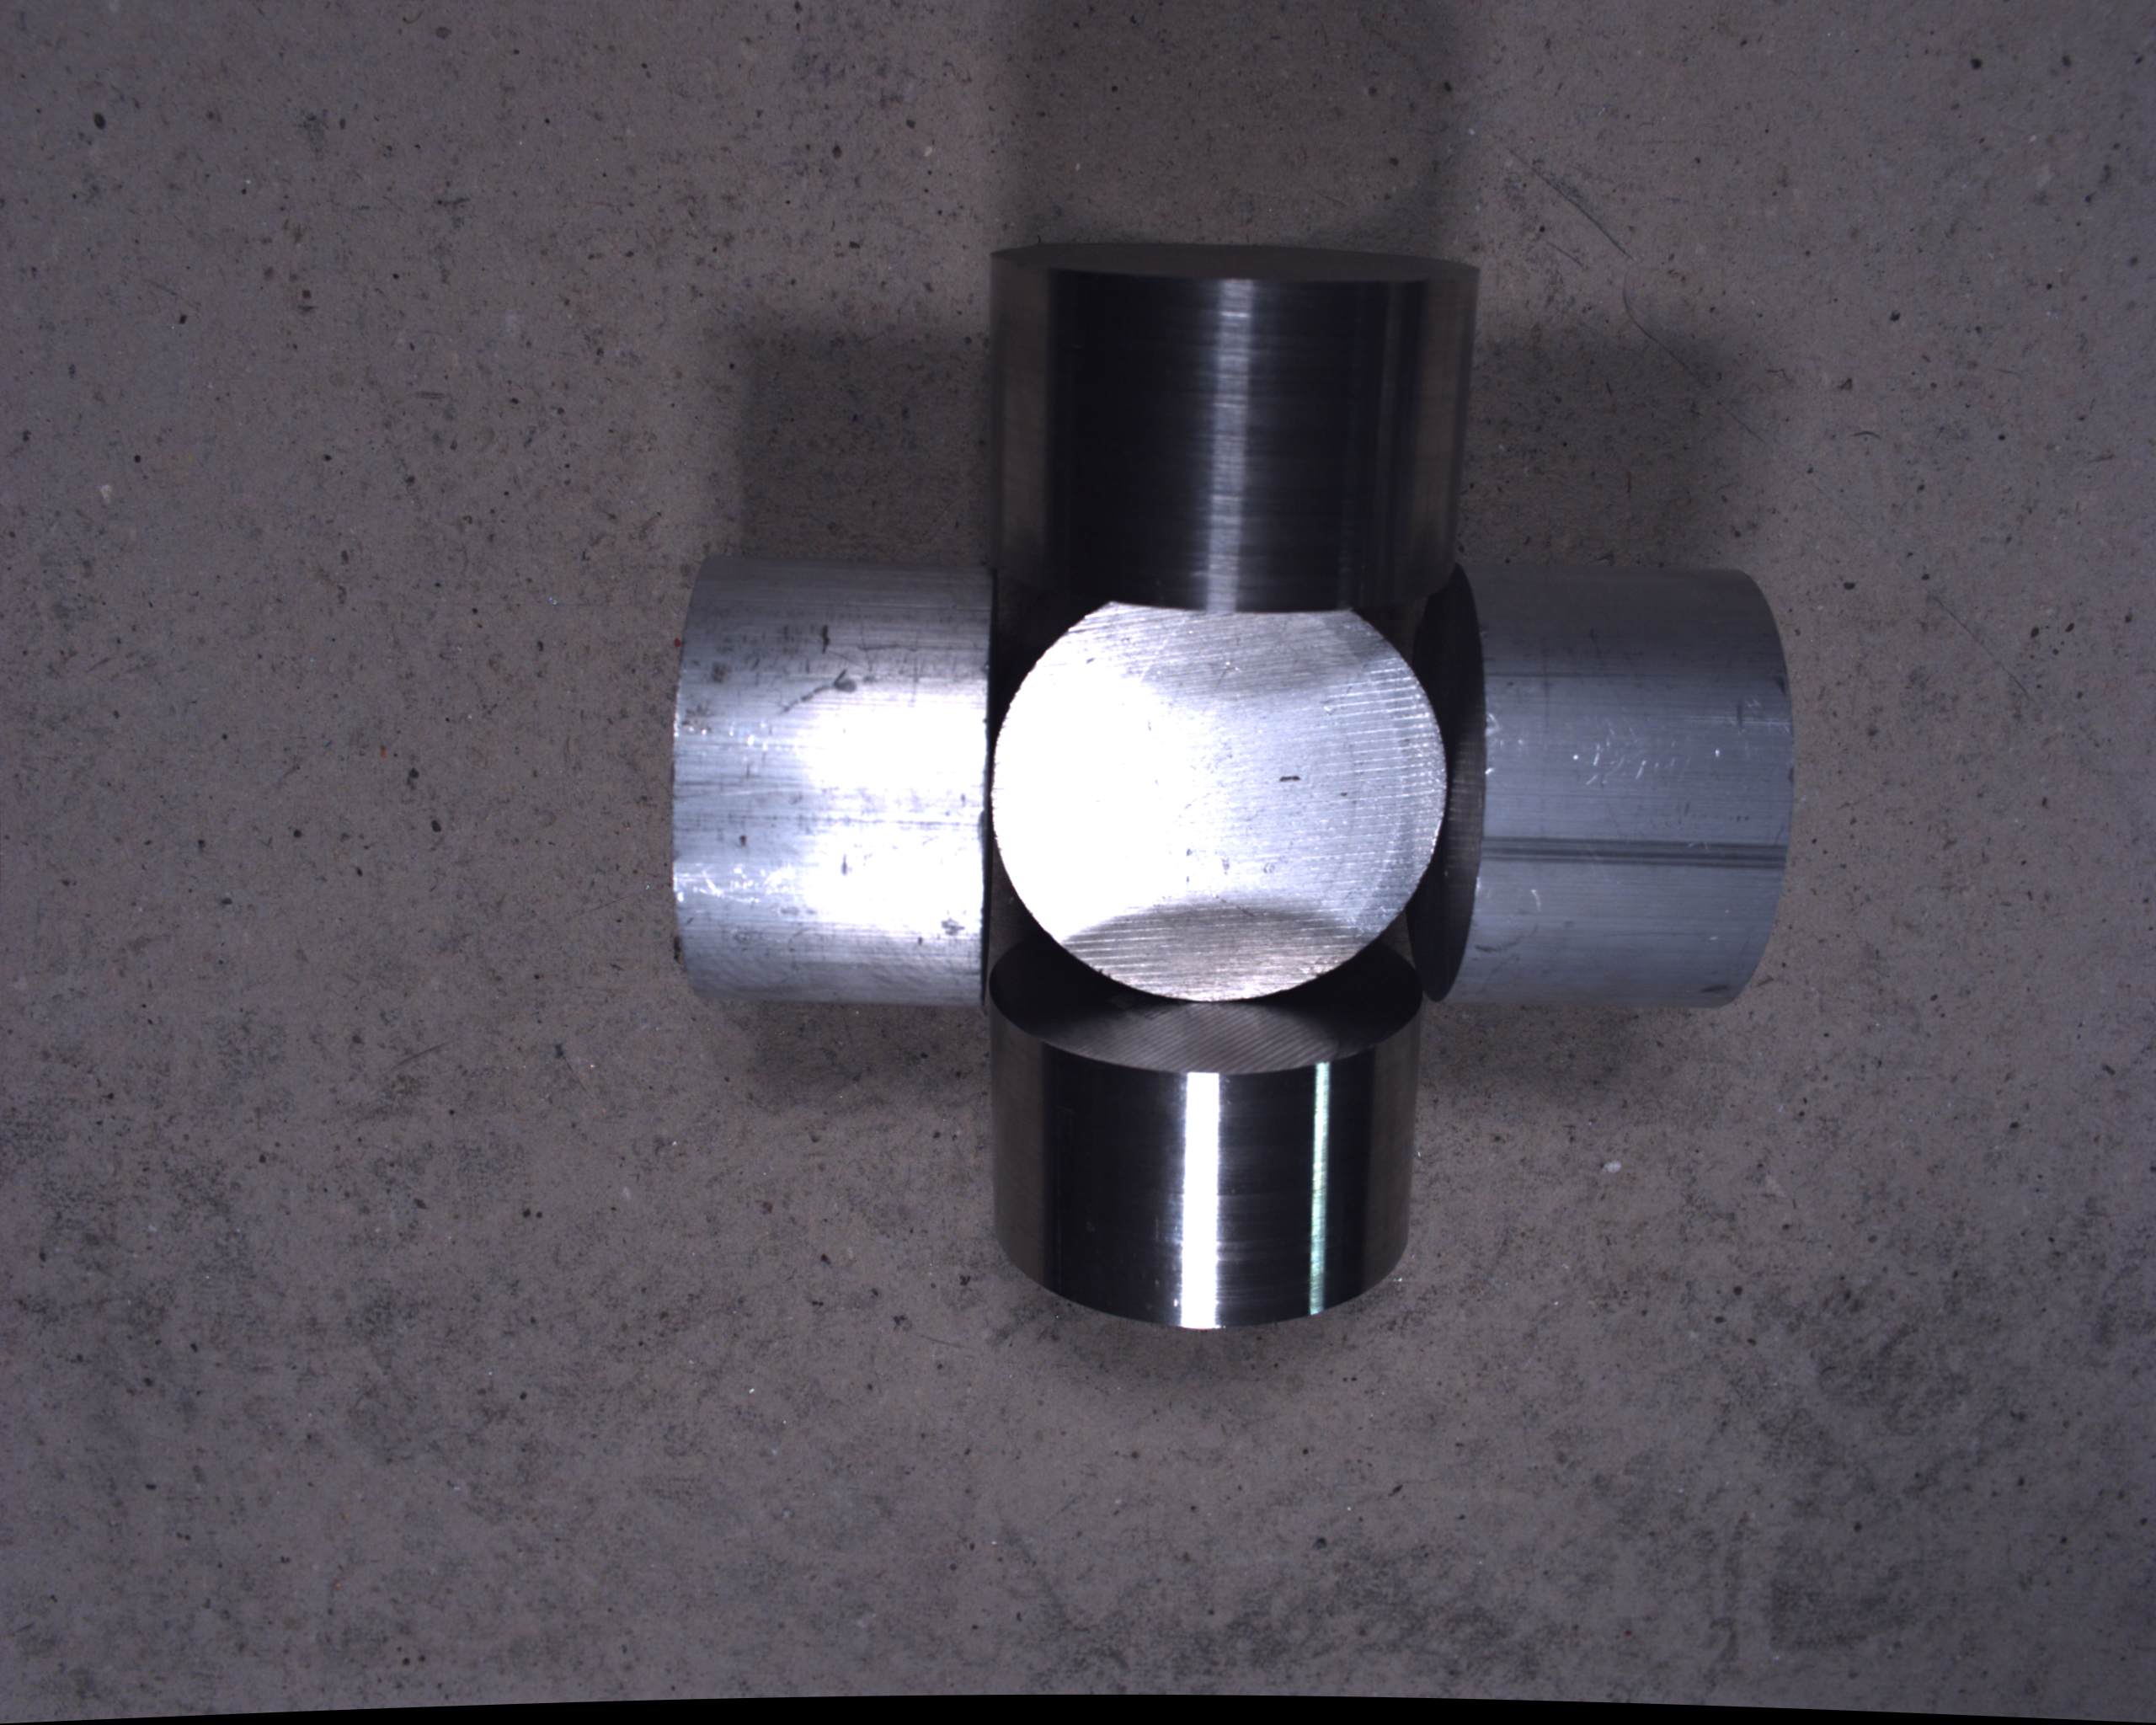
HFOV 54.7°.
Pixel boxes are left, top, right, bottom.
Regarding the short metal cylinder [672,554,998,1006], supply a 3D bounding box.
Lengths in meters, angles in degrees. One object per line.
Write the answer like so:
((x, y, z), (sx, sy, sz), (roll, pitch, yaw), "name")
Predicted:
((-0.041, -0.015, 0.376), (0.050, 0.080, 0.079), (2, 110, -1), "short metal cylinder")

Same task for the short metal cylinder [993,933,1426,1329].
((0.024, 0.046, 0.399), (0.081, 0.080, 0.050), (0, 110, -1), "short metal cylinder")

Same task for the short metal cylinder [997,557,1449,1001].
((0.025, -0.021, 0.391), (0.081, 0.050, 0.079), (0, 110, -1), "short metal cylinder")

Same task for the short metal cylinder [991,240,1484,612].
((0.025, -0.076, 0.353), (0.081, 0.080, 0.050), (2, 111, -1), "short metal cylinder")

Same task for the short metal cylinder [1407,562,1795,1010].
((0.091, -0.014, 0.378), (0.050, 0.080, 0.079), (2, 110, -1), "short metal cylinder")
